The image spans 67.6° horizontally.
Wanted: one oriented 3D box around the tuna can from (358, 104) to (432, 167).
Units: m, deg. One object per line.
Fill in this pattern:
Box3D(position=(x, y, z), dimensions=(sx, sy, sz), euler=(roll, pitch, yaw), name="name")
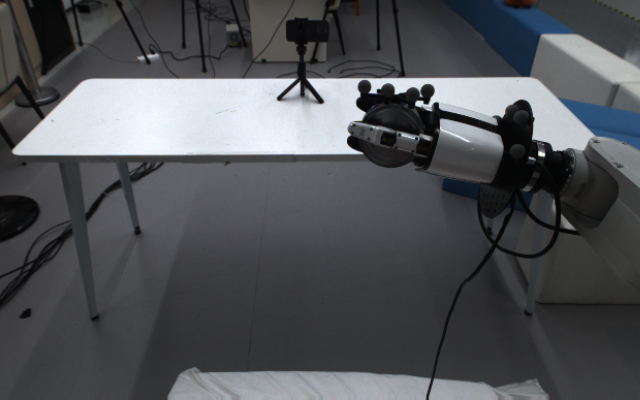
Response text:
Box3D(position=(0.097, -0.084, 0.638), dimensions=(0.085, 0.085, 0.034), euler=(7, 22, 6), name="tuna can")
